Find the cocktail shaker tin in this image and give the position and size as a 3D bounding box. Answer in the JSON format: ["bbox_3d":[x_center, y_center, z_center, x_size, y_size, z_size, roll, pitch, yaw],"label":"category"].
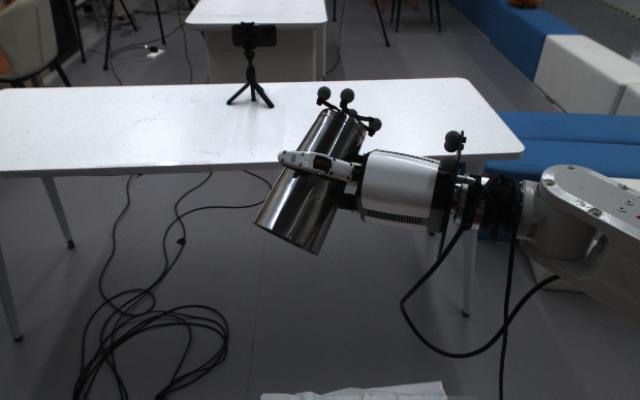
[{"bbox_3d":[-0.004,-0.029,0.615,0.093,0.093,0.170,21,81,25],"label":"cocktail shaker tin"}]
